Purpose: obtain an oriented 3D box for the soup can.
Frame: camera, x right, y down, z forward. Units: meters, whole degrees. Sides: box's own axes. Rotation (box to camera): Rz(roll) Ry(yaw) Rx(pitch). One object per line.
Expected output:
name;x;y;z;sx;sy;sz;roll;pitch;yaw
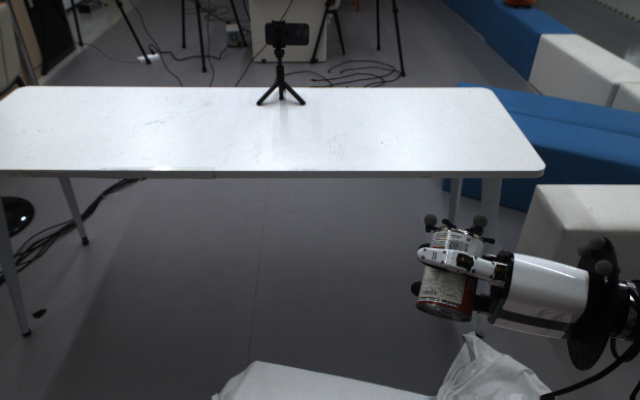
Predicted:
soup can;0.165;0.091;0.611;0.067;0.067;0.101;12;70;14
